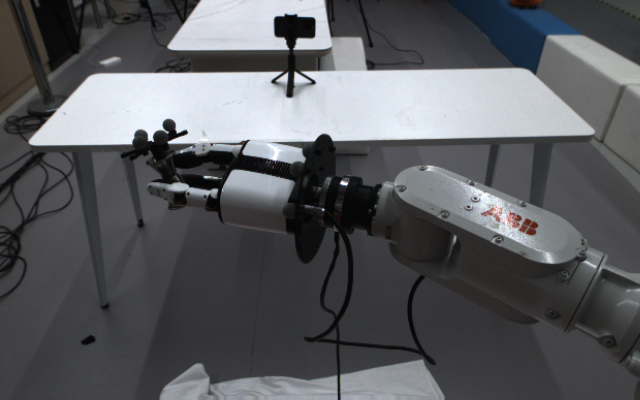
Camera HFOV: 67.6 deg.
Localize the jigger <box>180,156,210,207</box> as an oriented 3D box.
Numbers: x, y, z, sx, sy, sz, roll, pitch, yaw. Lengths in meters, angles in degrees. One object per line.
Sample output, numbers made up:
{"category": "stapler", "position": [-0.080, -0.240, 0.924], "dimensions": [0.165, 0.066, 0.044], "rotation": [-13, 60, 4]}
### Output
{"category": "jigger", "position": [-0.190, -0.028, 0.636], "dimensions": [0.043, 0.071, 0.043], "rotation": [-18, 24, 8]}
